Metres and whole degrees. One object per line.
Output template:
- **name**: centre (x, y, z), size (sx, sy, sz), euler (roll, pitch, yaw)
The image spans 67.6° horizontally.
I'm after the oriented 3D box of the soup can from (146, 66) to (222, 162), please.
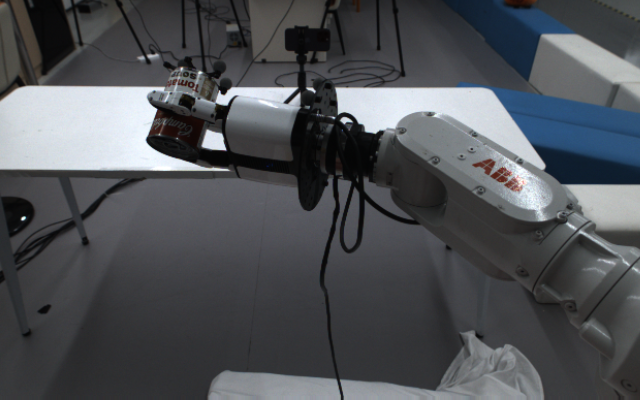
- **soup can**: centre (-0.178, -0.111, 0.634), size (0.067, 0.067, 0.101), euler (9, 72, 9)
